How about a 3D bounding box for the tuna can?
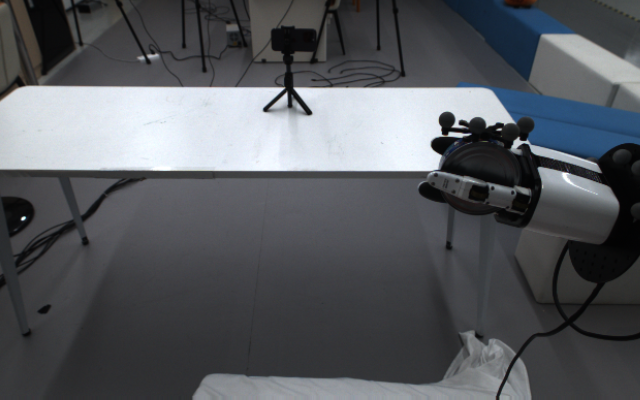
[{"bbox_3d":[0.177,-0.030,0.539,0.085,0.085,0.034,9,24,10],"label":"tuna can"}]
